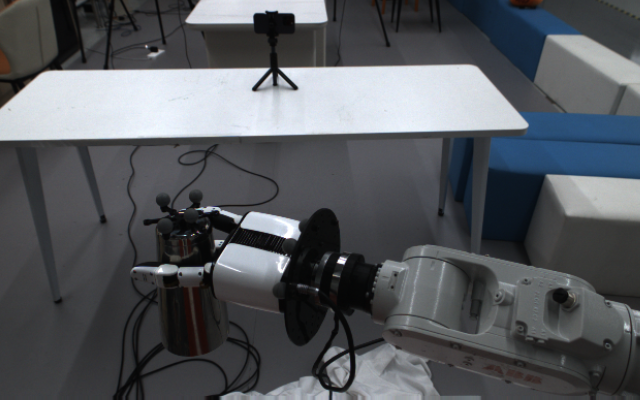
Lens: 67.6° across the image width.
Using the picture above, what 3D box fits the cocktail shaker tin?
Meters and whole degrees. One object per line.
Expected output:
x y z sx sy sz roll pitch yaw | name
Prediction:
-0.166 0.104 0.626 0.093 0.170 0.093 2 26 -1 | cocktail shaker tin
